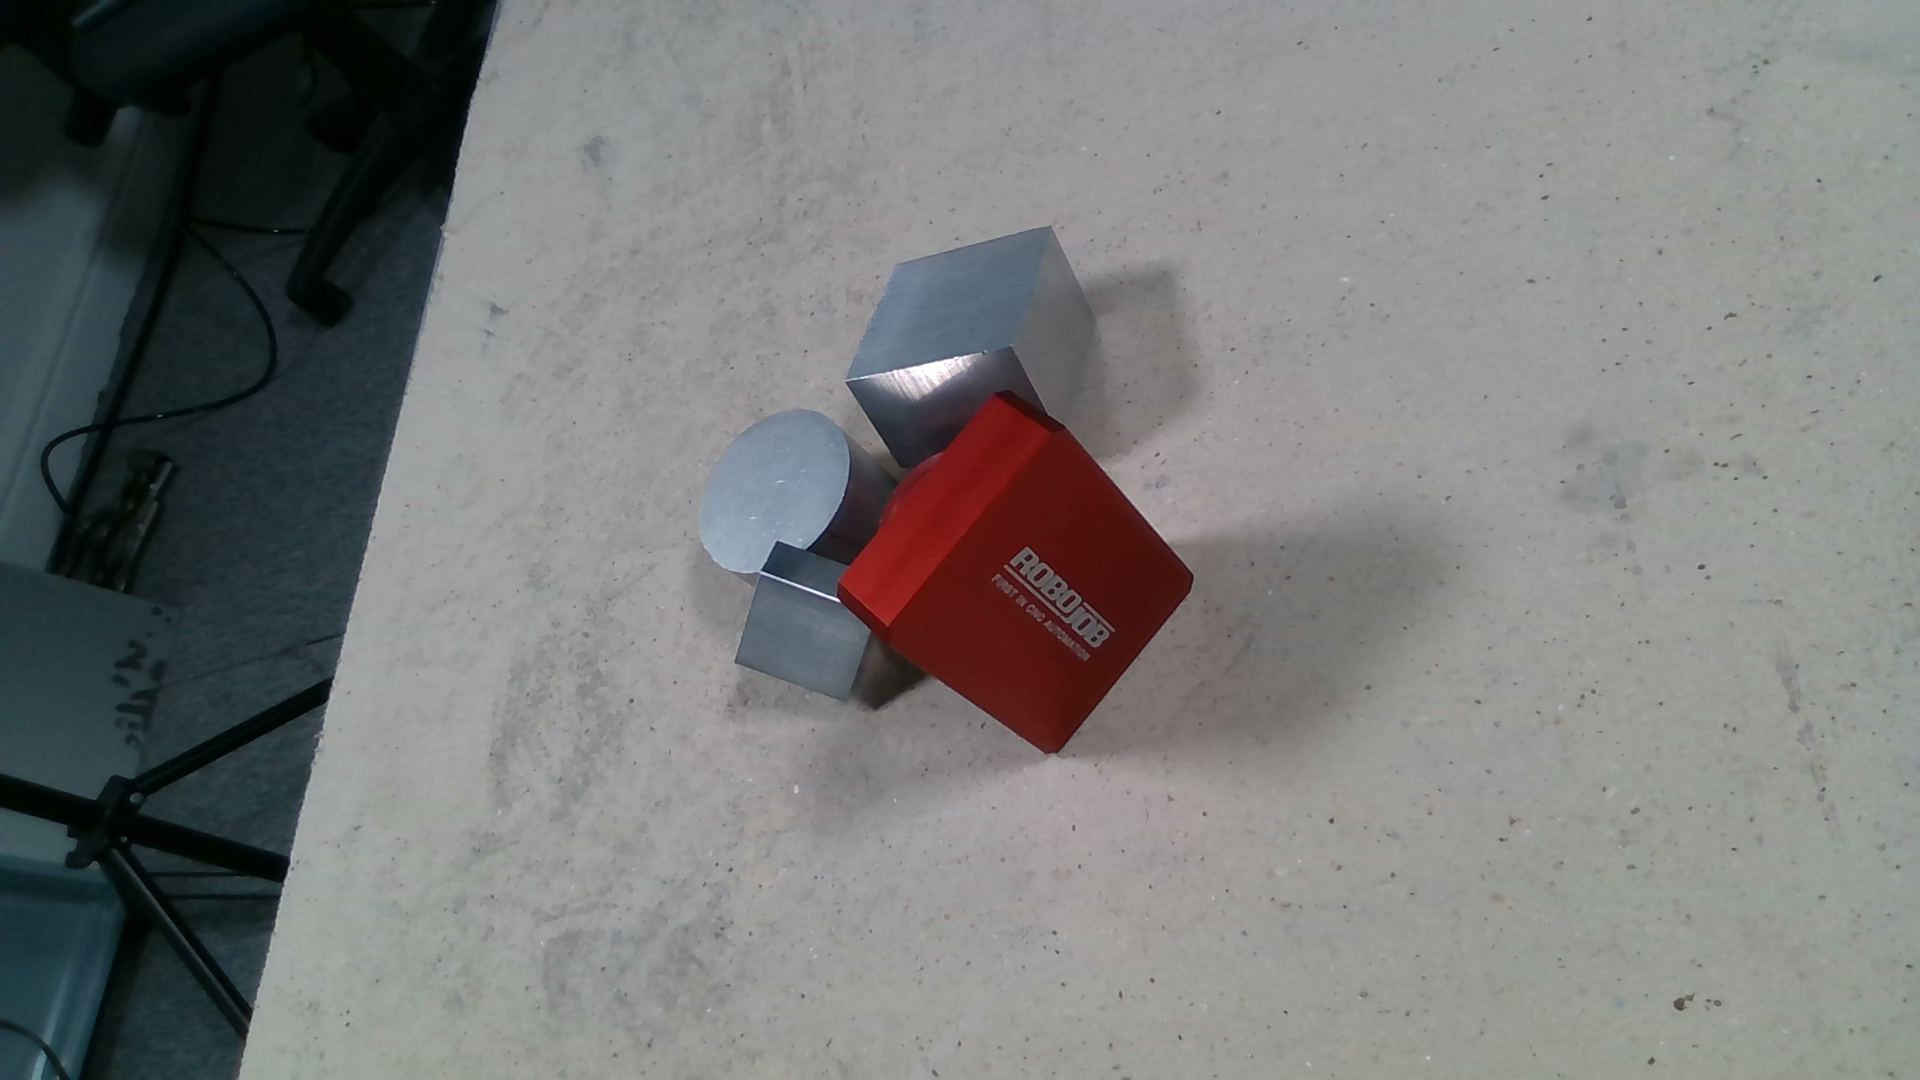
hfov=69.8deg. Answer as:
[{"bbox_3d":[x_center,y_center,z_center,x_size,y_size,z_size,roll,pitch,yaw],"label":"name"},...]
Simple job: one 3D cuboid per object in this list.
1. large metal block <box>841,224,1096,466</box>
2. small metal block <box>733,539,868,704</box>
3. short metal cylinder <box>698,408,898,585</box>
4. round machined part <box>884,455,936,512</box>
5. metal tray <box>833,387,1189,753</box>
[{"bbox_3d":[0.006,-0.083,0.594,0.080,0.050,0.080,-8,45,29],"label":"large metal block"},{"bbox_3d":[-0.062,0.034,0.576,0.025,0.050,0.050,-73,3,-57],"label":"small metal block"},{"bbox_3d":[-0.070,-0.012,0.620,0.080,0.050,0.080,-14,59,25],"label":"short metal cylinder"},{"bbox_3d":[0.005,0.001,0.572,0.098,0.042,0.098,-14,59,25],"label":"round machined part"},{"bbox_3d":[0.024,0.016,0.493,0.090,0.130,0.030,-51,51,-1],"label":"metal tray"}]
